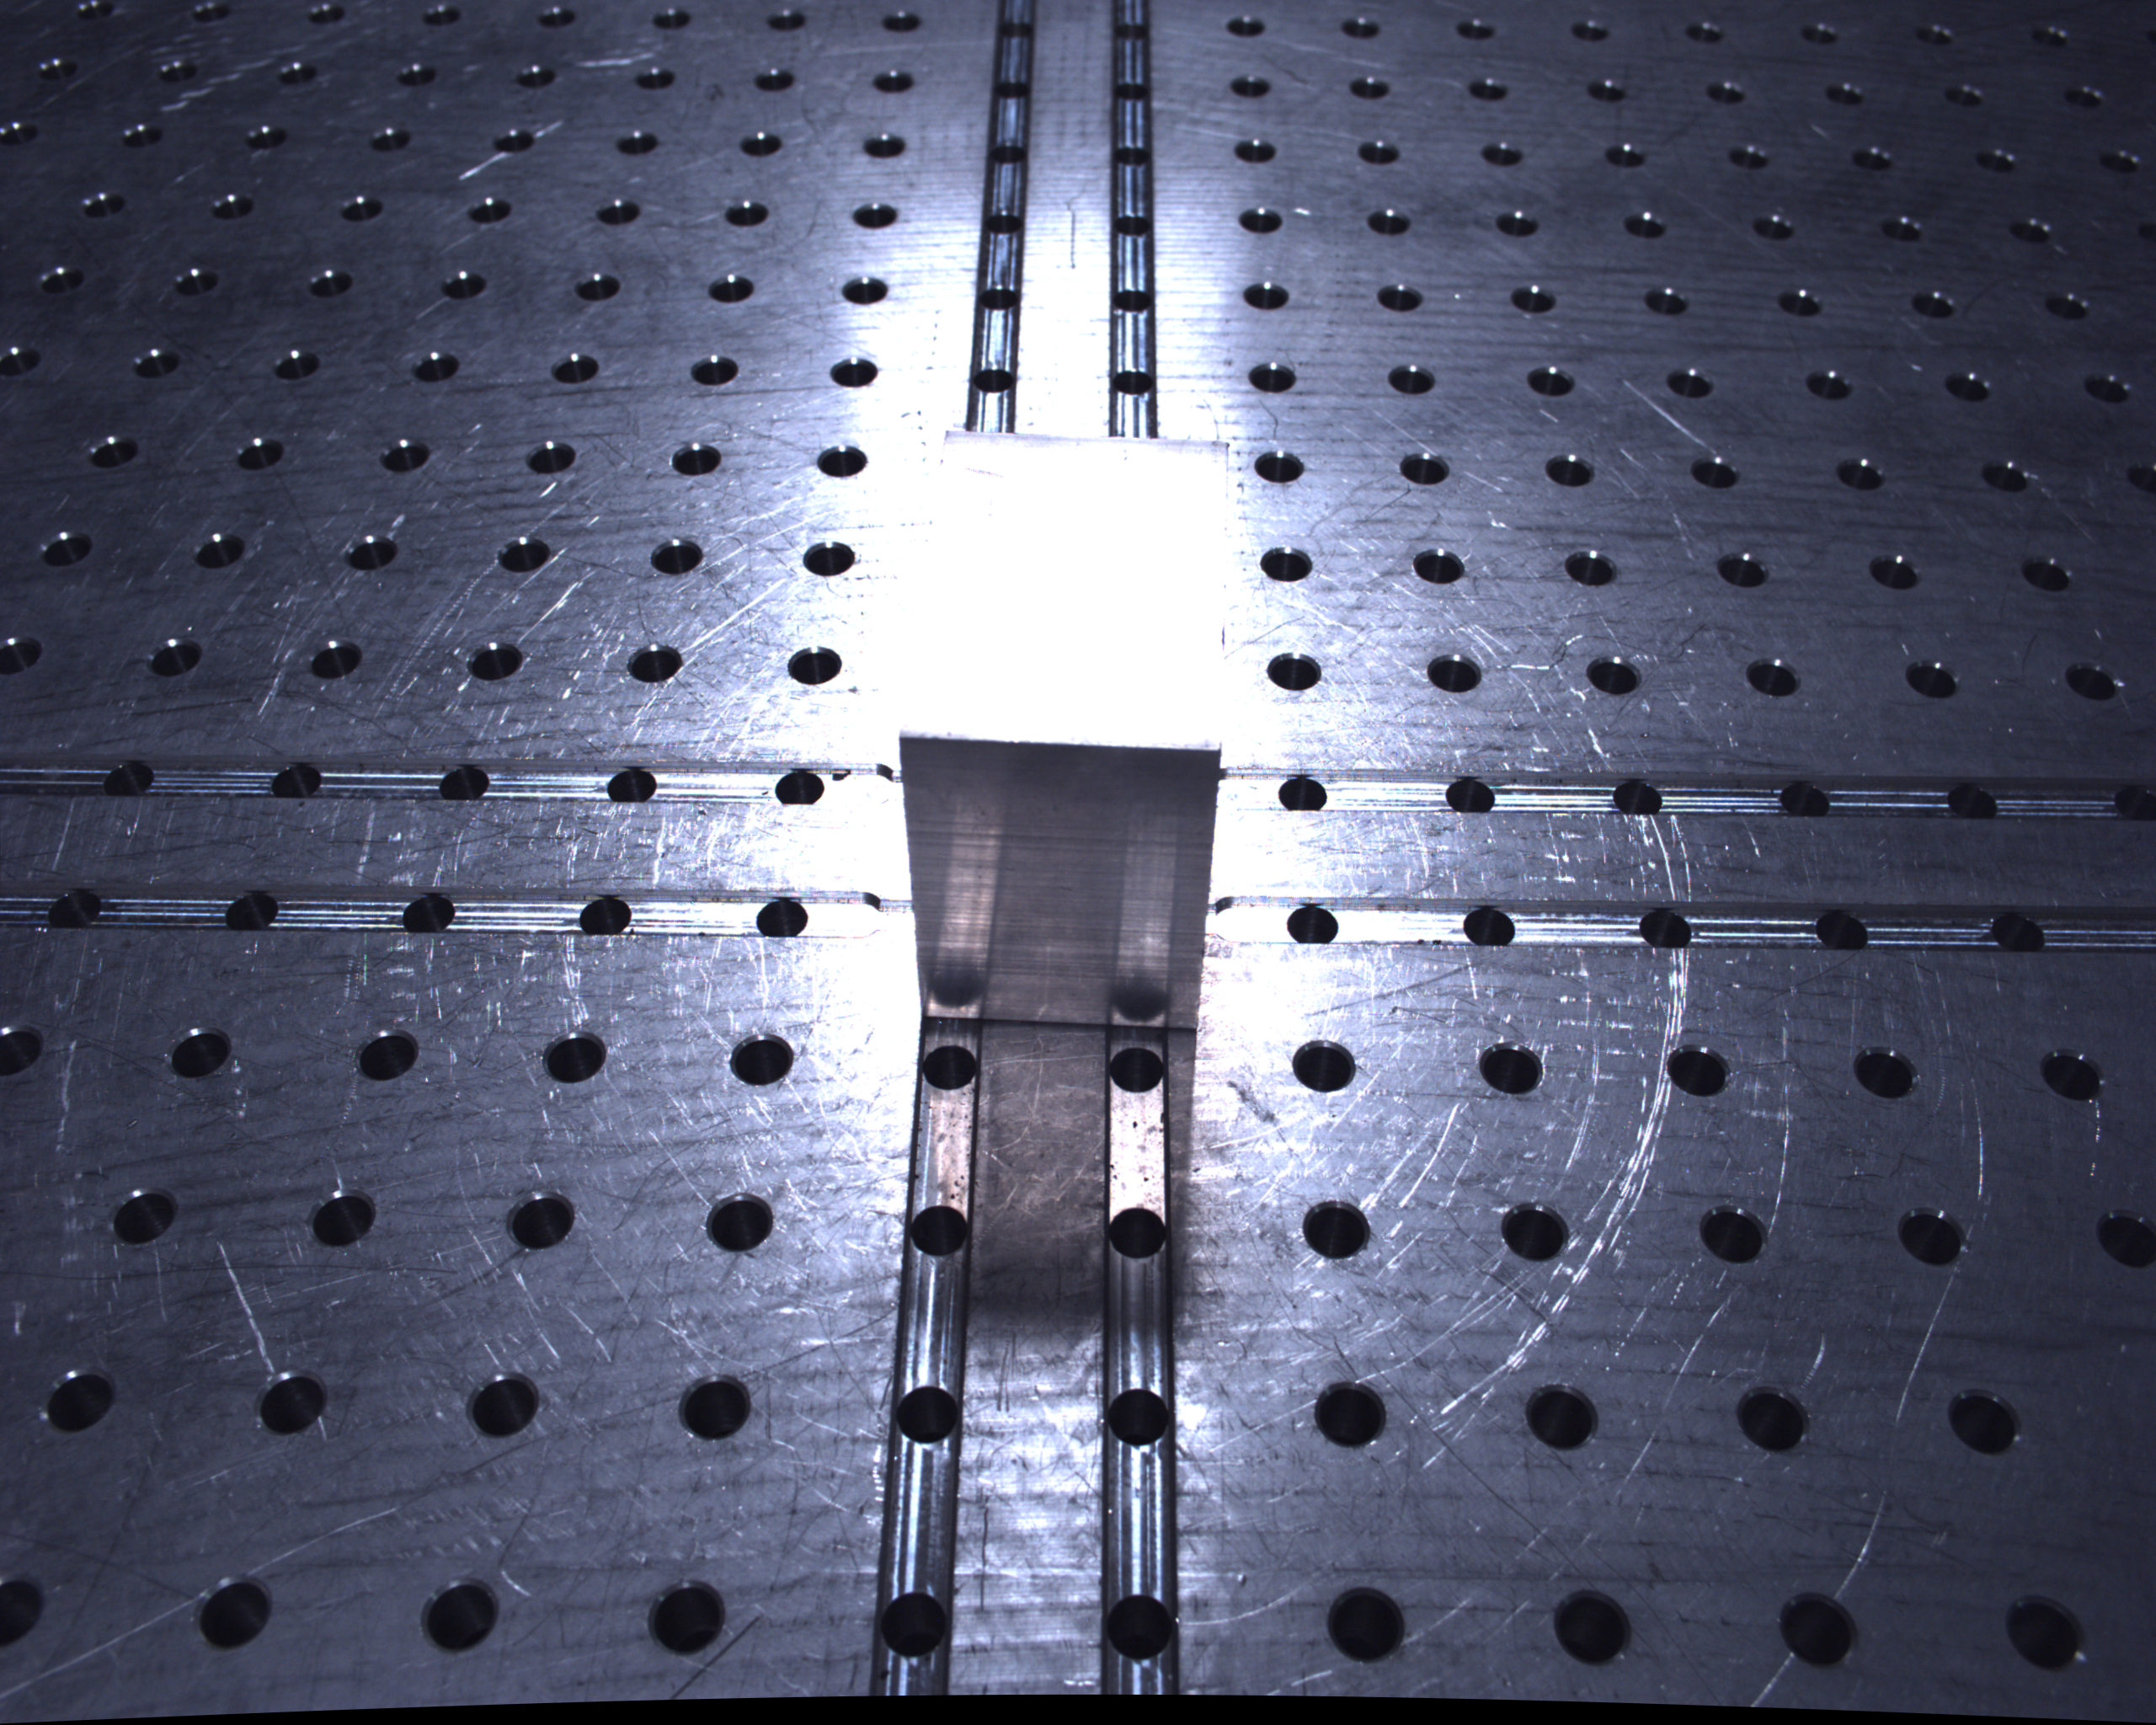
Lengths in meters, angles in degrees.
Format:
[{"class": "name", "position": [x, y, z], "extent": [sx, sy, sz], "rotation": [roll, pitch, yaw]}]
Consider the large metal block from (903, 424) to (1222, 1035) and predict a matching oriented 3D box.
[{"class": "large metal block", "position": [-0.001, -0.024, 0.391], "extent": [0.050, 0.080, 0.080], "rotation": [3, 50, 2]}]
